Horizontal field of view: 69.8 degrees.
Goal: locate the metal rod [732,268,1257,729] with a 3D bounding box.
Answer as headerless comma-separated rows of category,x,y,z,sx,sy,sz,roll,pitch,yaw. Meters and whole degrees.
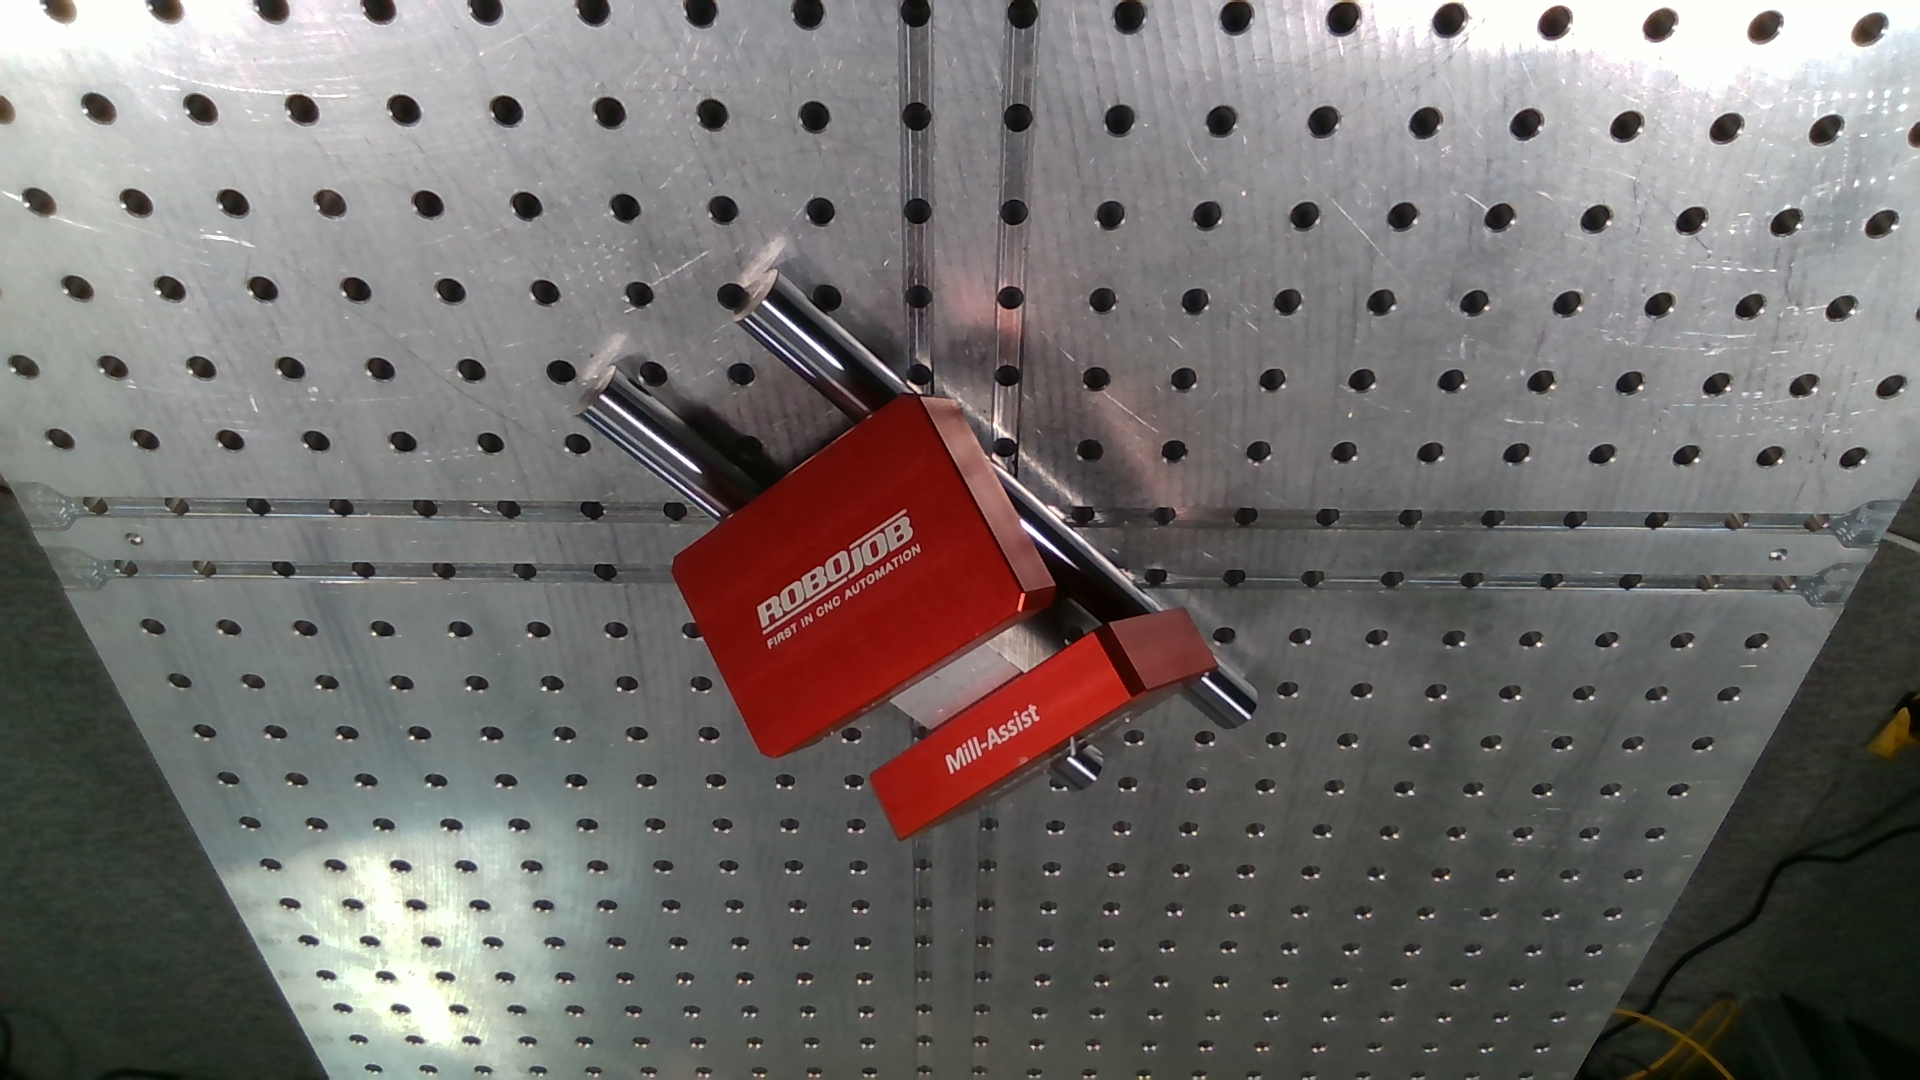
metal rod,0.027,-0.006,0.577,0.025,0.025,0.301,-36,122,26

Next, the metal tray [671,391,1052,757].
metal tray,-0.040,0.014,0.524,0.130,0.030,0.090,-33,80,24

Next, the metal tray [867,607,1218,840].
metal tray,0.035,0.076,0.575,0.130,0.030,0.090,-36,165,26

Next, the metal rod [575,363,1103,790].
metal rod,-0.040,0.027,0.605,0.025,0.025,0.301,-35,122,26

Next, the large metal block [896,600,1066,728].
large metal block,0.000,0.033,0.574,0.050,0.080,0.080,-35,122,26
